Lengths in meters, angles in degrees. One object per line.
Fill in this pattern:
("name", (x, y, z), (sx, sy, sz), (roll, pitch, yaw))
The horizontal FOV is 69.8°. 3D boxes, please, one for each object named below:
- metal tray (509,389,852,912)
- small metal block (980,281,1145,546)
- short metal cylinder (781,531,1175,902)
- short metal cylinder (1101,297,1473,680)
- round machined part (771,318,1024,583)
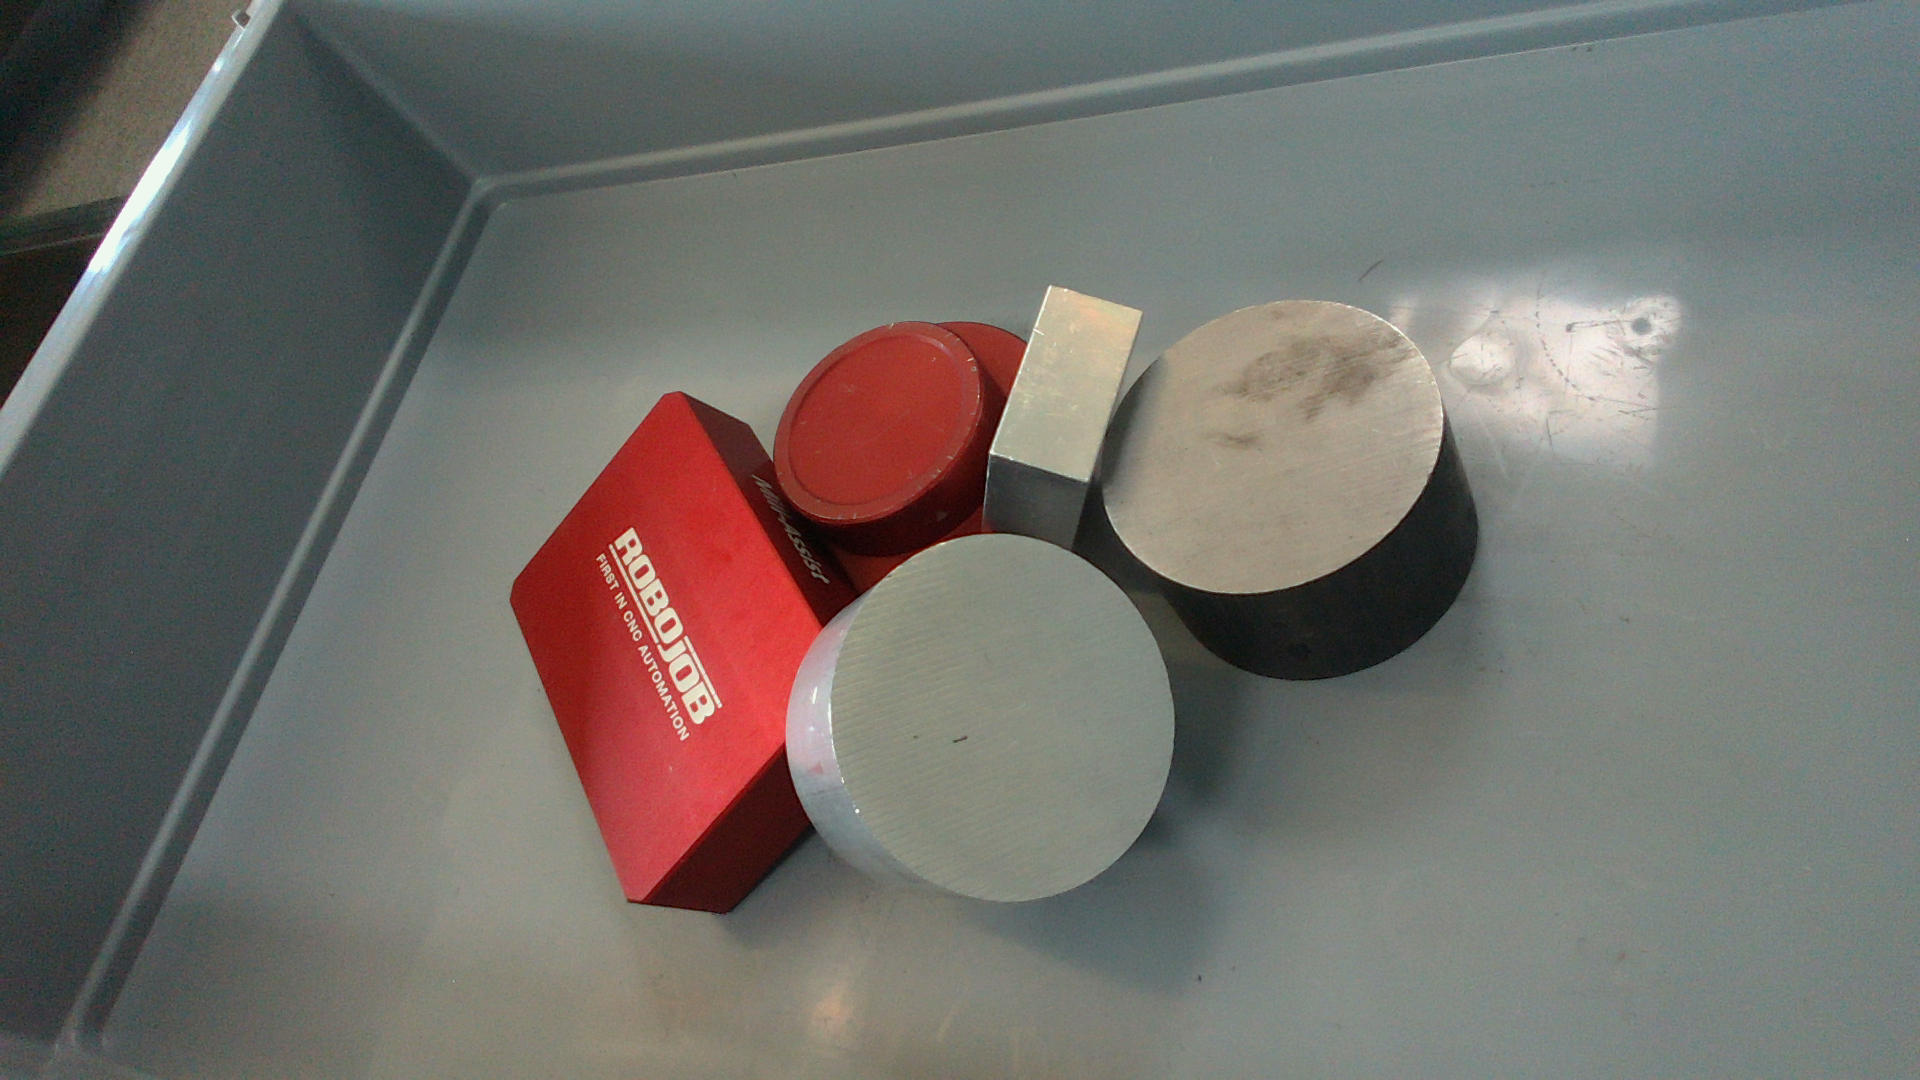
("metal tray", (-0.078, 0.029, 0.399), (0.090, 0.030, 0.130), (-48, 49, 14))
("small metal block", (0.026, -0.030, 0.357), (0.025, 0.050, 0.050), (17, 67, 6))
("short metal cylinder", (0.003, 0.043, 0.321), (0.080, 0.080, 0.050), (-67, 12, -19))
("short metal cylinder", (0.081, -0.012, 0.340), (0.080, 0.050, 0.080), (-13, 56, 21))
("round machined part", (-0.016, -0.026, 0.405), (0.098, 0.042, 0.098), (-13, 56, 21))
